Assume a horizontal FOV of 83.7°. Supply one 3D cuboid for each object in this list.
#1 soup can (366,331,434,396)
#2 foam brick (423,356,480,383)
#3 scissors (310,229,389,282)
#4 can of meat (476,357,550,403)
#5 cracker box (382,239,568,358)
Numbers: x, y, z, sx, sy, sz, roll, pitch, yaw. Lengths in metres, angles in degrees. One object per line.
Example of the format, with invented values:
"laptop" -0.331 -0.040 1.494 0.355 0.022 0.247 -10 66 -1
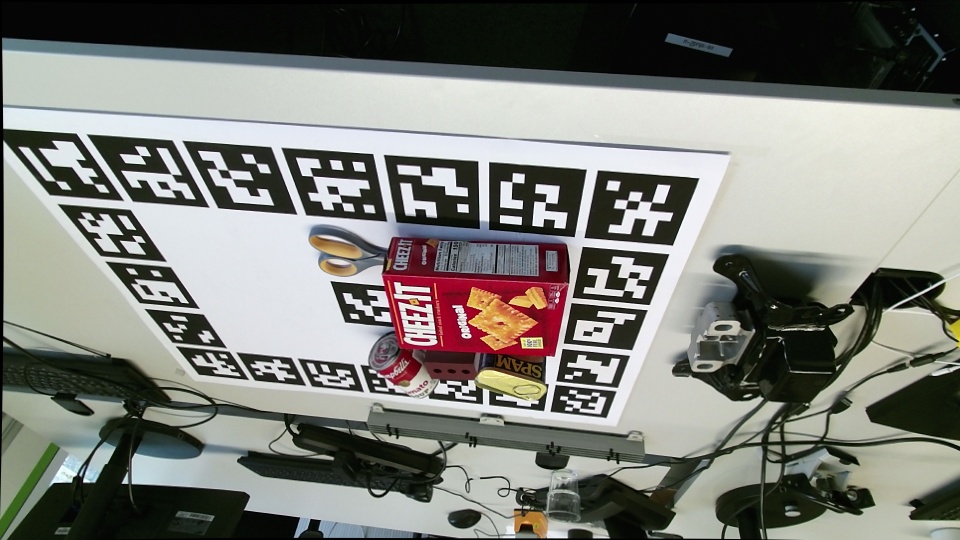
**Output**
"soup can" -0.124 0.150 0.850 0.068 0.067 0.102 -24 133 30
"foam brick" -0.042 0.138 0.825 0.078 0.051 0.053 -2 135 12
"scissors" -0.111 -0.015 0.683 0.203 0.016 0.088 2 136 7
"can of meat" 0.051 0.139 0.782 0.102 0.083 0.058 15 136 -6
"cracker box" 0.000 0.042 0.679 0.214 0.071 0.164 -1 137 5
